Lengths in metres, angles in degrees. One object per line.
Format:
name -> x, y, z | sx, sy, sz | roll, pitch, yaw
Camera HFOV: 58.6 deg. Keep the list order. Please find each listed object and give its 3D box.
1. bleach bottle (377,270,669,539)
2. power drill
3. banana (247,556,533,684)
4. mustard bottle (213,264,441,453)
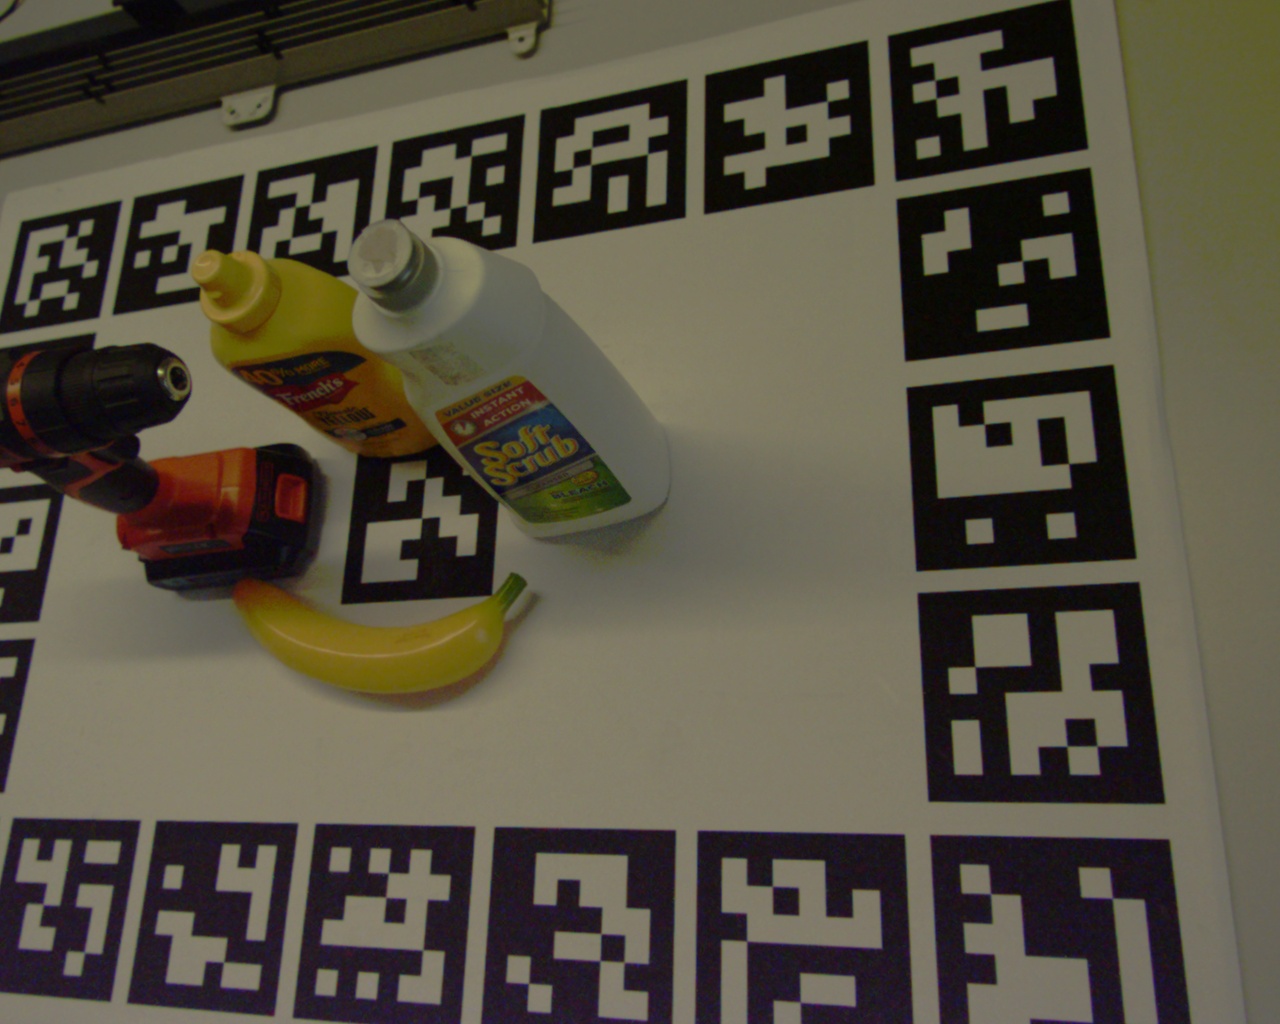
bleach bottle -> -0.065, -0.053, 0.586 | 0.103, 0.248, 0.068 | -13, 71, 15
power drill -> -0.285, -0.030, 0.663 | 0.186, 0.185, 0.057 | -7, 64, 15
banana -> -0.156, 0.066, 0.687 | 0.199, 0.038, 0.074 | -2, 77, 21
mustard bottle -> -0.181, -0.091, 0.664 | 0.097, 0.189, 0.058 | -4, 72, 17
